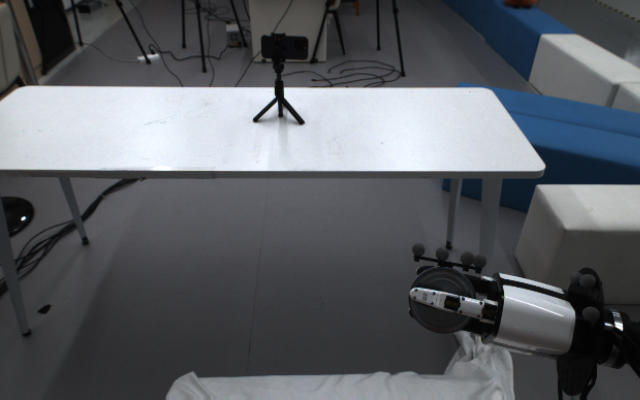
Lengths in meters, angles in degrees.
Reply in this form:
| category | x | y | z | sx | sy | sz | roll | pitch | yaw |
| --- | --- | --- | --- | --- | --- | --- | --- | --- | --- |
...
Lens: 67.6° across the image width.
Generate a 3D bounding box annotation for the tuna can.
| category | x | y | z | sx | sy | sz | roll | pitch | yaw |
| --- | --- | --- | --- | --- | --- | --- | --- | --- | --- |
| tuna can | 0.164 | 0.127 | 0.639 | 0.085 | 0.085 | 0.034 | 10 | -6 | 12 |
